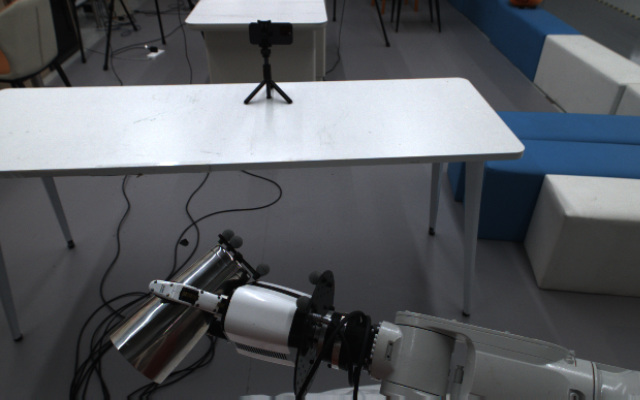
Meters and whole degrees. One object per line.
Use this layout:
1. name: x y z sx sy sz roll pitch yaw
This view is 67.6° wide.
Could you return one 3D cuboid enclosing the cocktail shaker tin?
1. cocktail shaker tin: -0.174 0.137 0.633 0.170 0.093 0.093 -43 50 -14
